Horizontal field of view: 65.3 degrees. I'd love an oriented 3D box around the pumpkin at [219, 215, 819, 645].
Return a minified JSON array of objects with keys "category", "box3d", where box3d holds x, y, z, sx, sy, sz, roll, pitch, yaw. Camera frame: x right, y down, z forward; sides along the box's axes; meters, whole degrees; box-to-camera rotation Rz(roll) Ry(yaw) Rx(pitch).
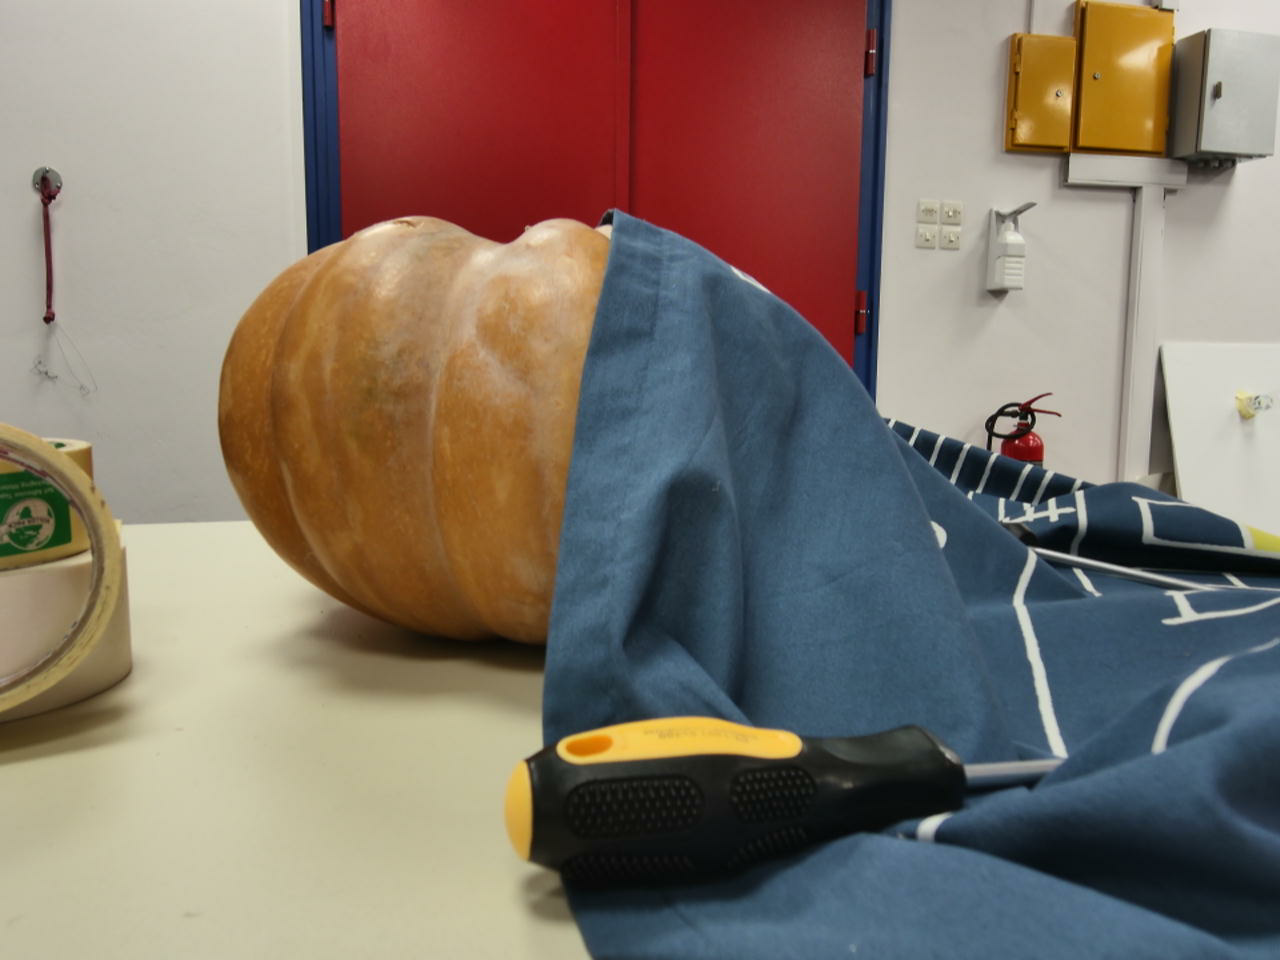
[{"category":"pumpkin","box3d":[-0.048,-0.025,0.456,0.277,0.181,0.277,0,4,0]}]
